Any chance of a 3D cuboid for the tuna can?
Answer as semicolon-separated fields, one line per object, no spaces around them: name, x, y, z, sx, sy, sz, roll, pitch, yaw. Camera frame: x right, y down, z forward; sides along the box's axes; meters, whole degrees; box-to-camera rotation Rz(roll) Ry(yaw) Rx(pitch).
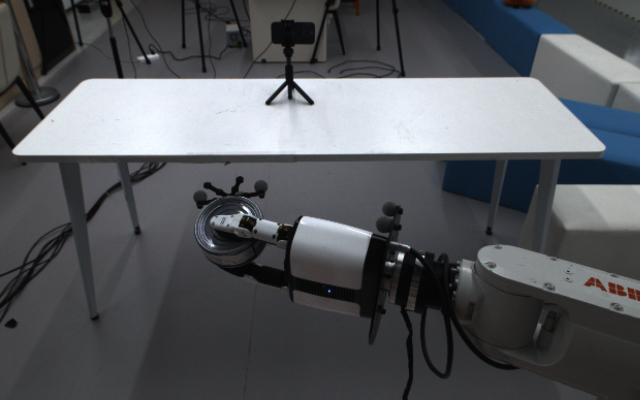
tuna can;-0.104;0.044;0.591;0.085;0.034;0.085;-3;60;5
